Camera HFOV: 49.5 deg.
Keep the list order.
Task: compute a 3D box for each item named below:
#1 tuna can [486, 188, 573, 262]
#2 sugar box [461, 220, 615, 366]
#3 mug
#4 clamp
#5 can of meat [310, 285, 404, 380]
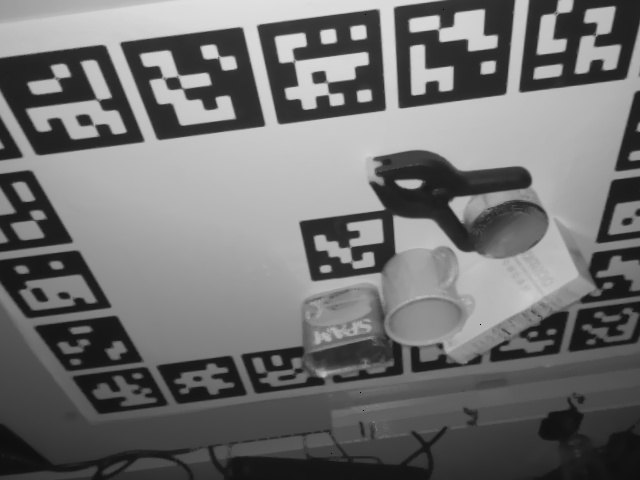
[{"bbox_3d":[0.219,-0.019,0.729,0.086,0.034,0.085,-3,131,-2],"label":"tuna can"},{"bbox_3d":[0.228,0.060,0.770,0.174,0.093,0.045,-37,126,28],"label":"sugar box"},{"bbox_3d":[0.134,0.062,0.760,0.094,0.082,0.115,12,129,-14],"label":"mug"},{"bbox_3d":[0.135,-0.053,0.697,0.166,0.037,0.120,22,131,-18],"label":"clamp"},{"bbox_3d":[0.041,0.106,0.802,0.101,0.084,0.057,-12,133,9],"label":"can of meat"}]
